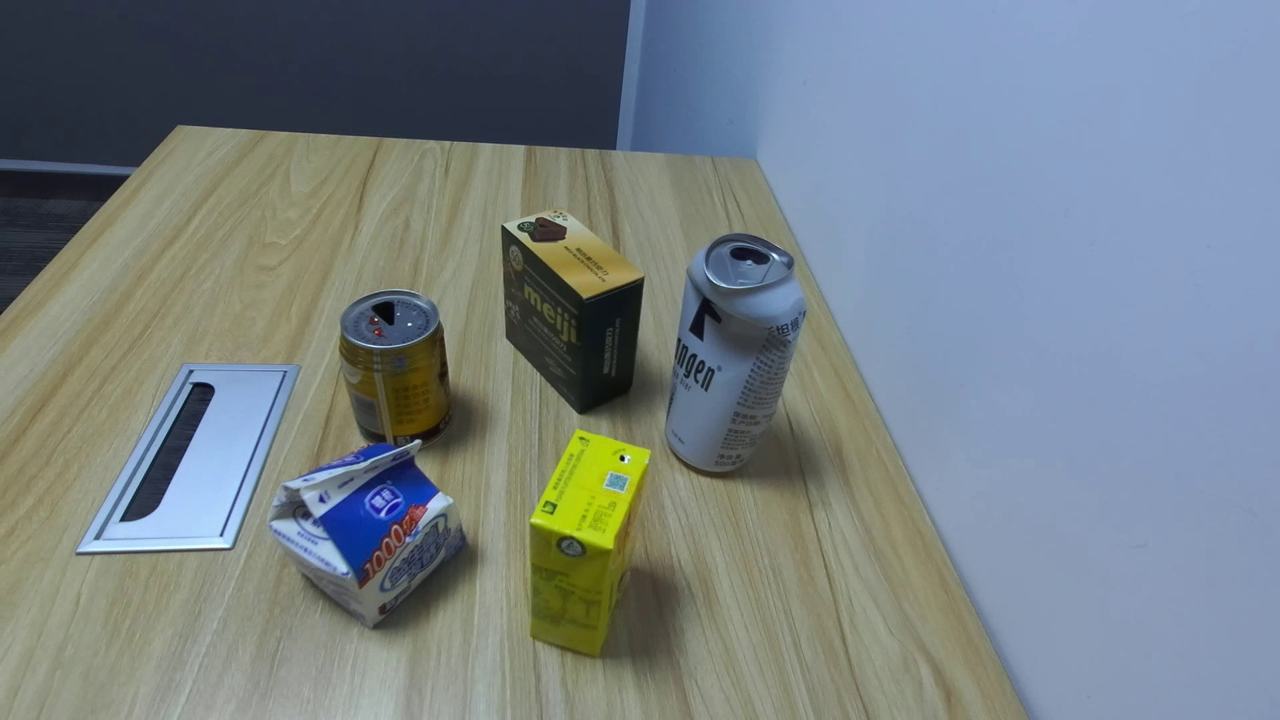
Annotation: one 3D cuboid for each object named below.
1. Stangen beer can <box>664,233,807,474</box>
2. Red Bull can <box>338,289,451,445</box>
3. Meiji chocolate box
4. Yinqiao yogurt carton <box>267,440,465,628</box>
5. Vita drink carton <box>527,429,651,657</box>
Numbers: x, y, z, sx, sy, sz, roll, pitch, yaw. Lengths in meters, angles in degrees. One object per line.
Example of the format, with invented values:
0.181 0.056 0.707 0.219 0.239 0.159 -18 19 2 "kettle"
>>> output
0.057 0.000 0.461 0.077 0.162 0.066 14 41 7 "Stangen beer can"
-0.162 0.008 0.474 0.069 0.092 0.069 5 40 -4 "Red Bull can"
-0.052 -0.037 0.529 0.056 0.109 0.109 -24 50 -31 "Meiji chocolate box"
-0.150 0.082 0.385 0.077 0.093 0.083 27 43 22 "Yinqiao yogurt carton"
-0.027 0.100 0.376 0.043 0.109 0.066 15 42 8 "Vita drink carton"
